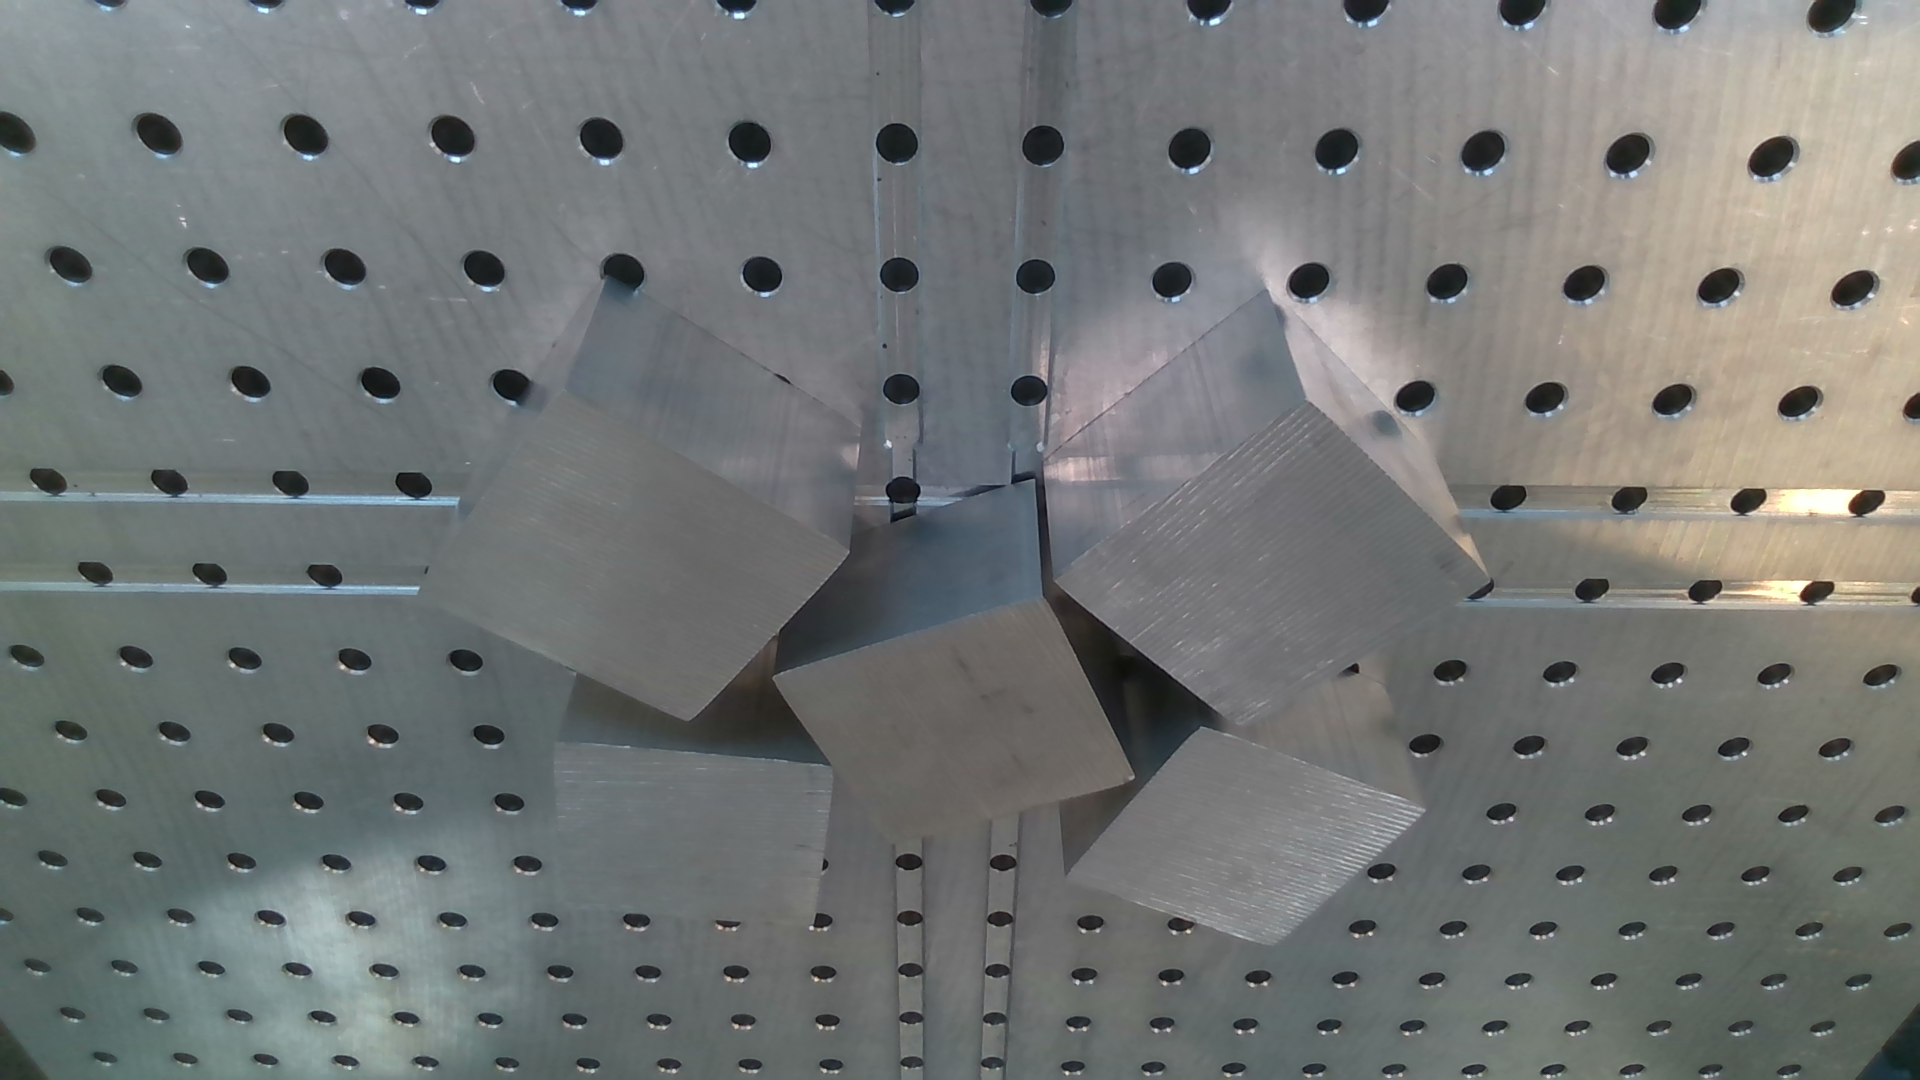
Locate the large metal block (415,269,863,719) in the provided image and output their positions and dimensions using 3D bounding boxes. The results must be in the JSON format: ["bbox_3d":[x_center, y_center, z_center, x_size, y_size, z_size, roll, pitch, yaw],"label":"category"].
[{"bbox_3d":[-0.083,-0.009,0.365,0.080,0.050,0.080,30,123,-23],"label":"large metal block"}]

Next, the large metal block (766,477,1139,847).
[{"bbox_3d":[0.000,0.037,0.405,0.080,0.050,0.080,-18,128,14],"label":"large metal block"}]

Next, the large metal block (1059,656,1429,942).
[{"bbox_3d":[0.086,0.076,0.438,0.080,0.050,0.080,20,130,-16],"label":"large metal block"}]

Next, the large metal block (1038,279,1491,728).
[{"bbox_3d":[0.078,-0.007,0.368,0.080,0.050,0.080,-37,121,26],"label":"large metal block"}]

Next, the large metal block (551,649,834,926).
[{"bbox_3d":[-0.082,0.075,0.437,0.080,0.050,0.080,7,130,-6],"label":"large metal block"}]
